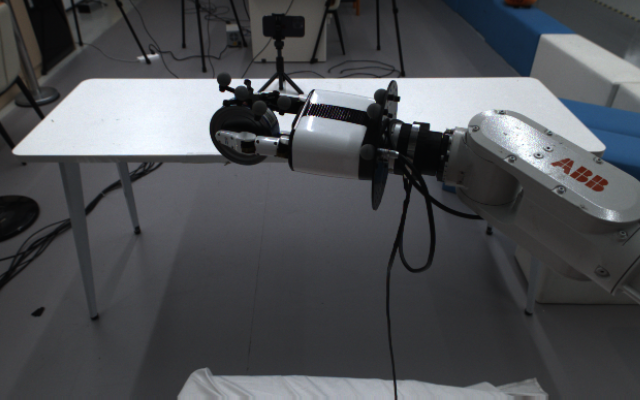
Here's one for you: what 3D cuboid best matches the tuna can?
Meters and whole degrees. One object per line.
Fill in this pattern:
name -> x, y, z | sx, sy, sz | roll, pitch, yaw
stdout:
tuna can -> -0.097, -0.089, 0.630 | 0.085, 0.085, 0.034 | 9, 35, 10
